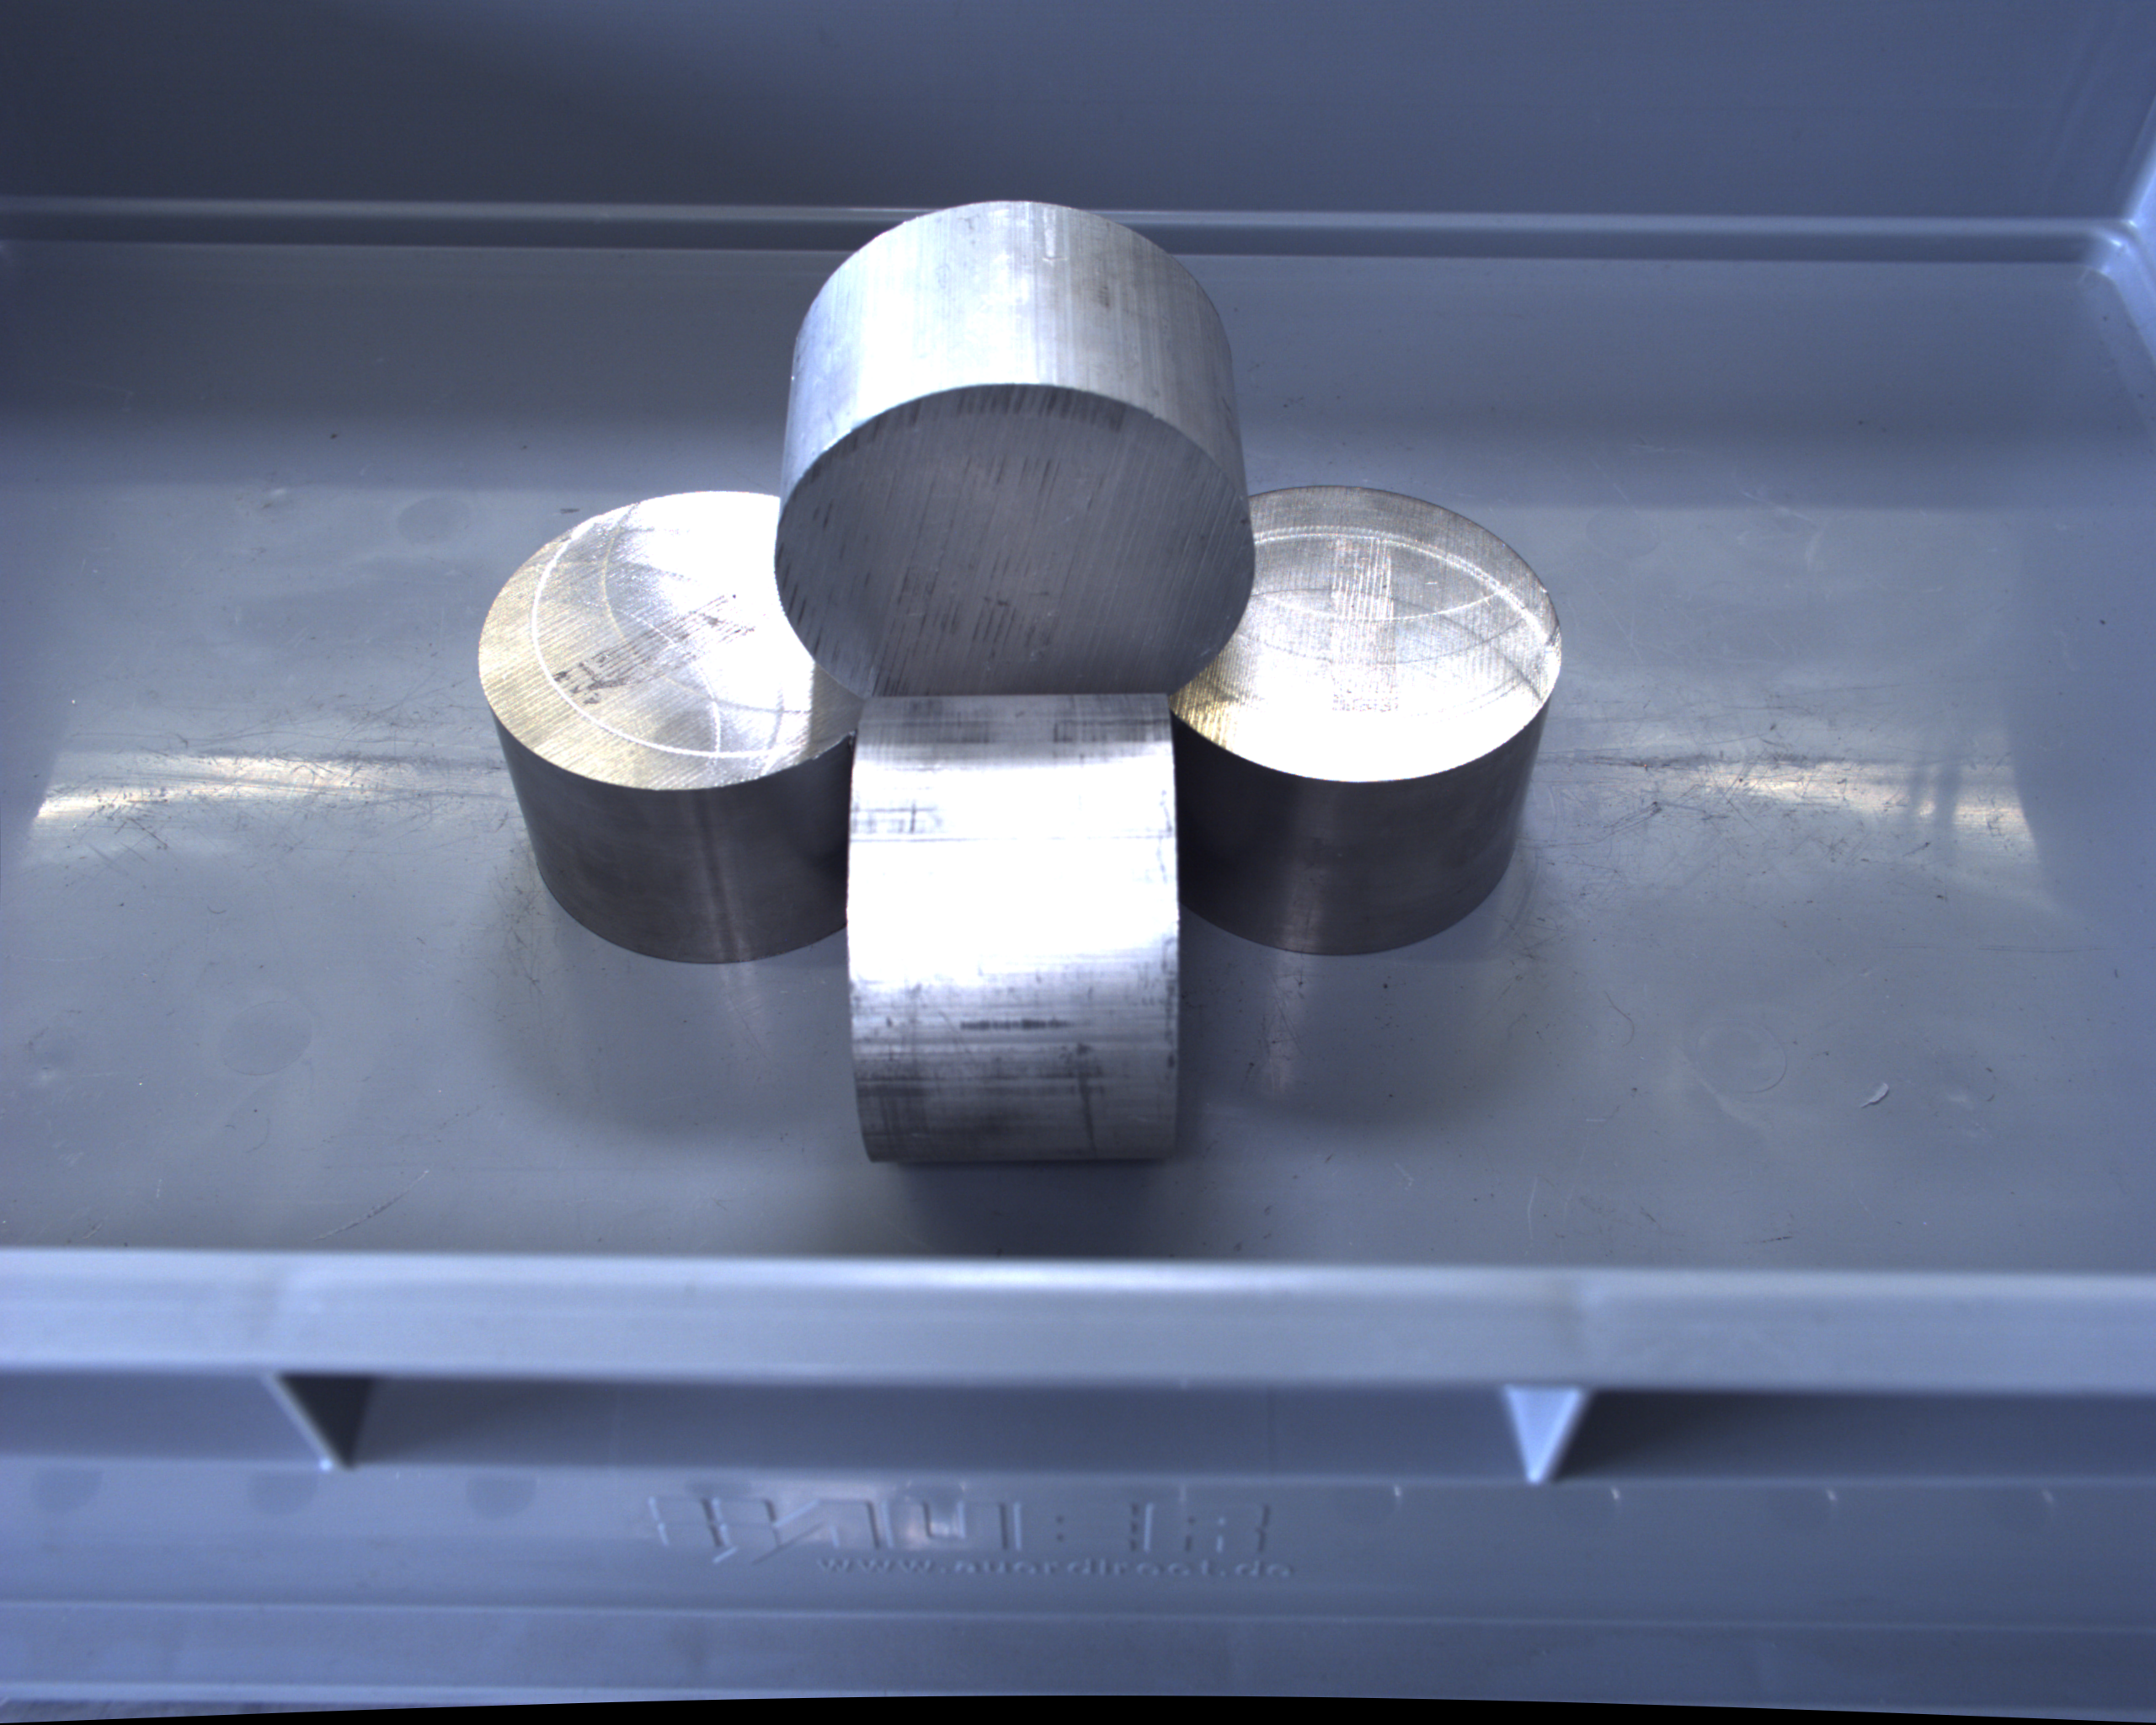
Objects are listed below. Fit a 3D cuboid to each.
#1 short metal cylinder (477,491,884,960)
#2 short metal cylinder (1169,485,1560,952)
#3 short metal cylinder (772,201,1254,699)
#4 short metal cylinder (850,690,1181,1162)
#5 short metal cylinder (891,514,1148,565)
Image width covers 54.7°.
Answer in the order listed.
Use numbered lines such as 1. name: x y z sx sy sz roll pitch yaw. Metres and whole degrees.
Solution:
1. short metal cylinder: -0.071 -0.028 0.409 0.080 0.050 0.080 0 50 0
2. short metal cylinder: 0.050 -0.029 0.411 0.080 0.050 0.080 0 50 0
3. short metal cylinder: -0.011 -0.067 0.366 0.081 0.080 0.050 -1 50 -1
4. short metal cylinder: -0.010 0.011 0.358 0.050 0.080 0.080 -1 50 -2
5. short metal cylinder: -0.013 -0.088 0.441 0.050 0.080 0.080 -1 50 -2
